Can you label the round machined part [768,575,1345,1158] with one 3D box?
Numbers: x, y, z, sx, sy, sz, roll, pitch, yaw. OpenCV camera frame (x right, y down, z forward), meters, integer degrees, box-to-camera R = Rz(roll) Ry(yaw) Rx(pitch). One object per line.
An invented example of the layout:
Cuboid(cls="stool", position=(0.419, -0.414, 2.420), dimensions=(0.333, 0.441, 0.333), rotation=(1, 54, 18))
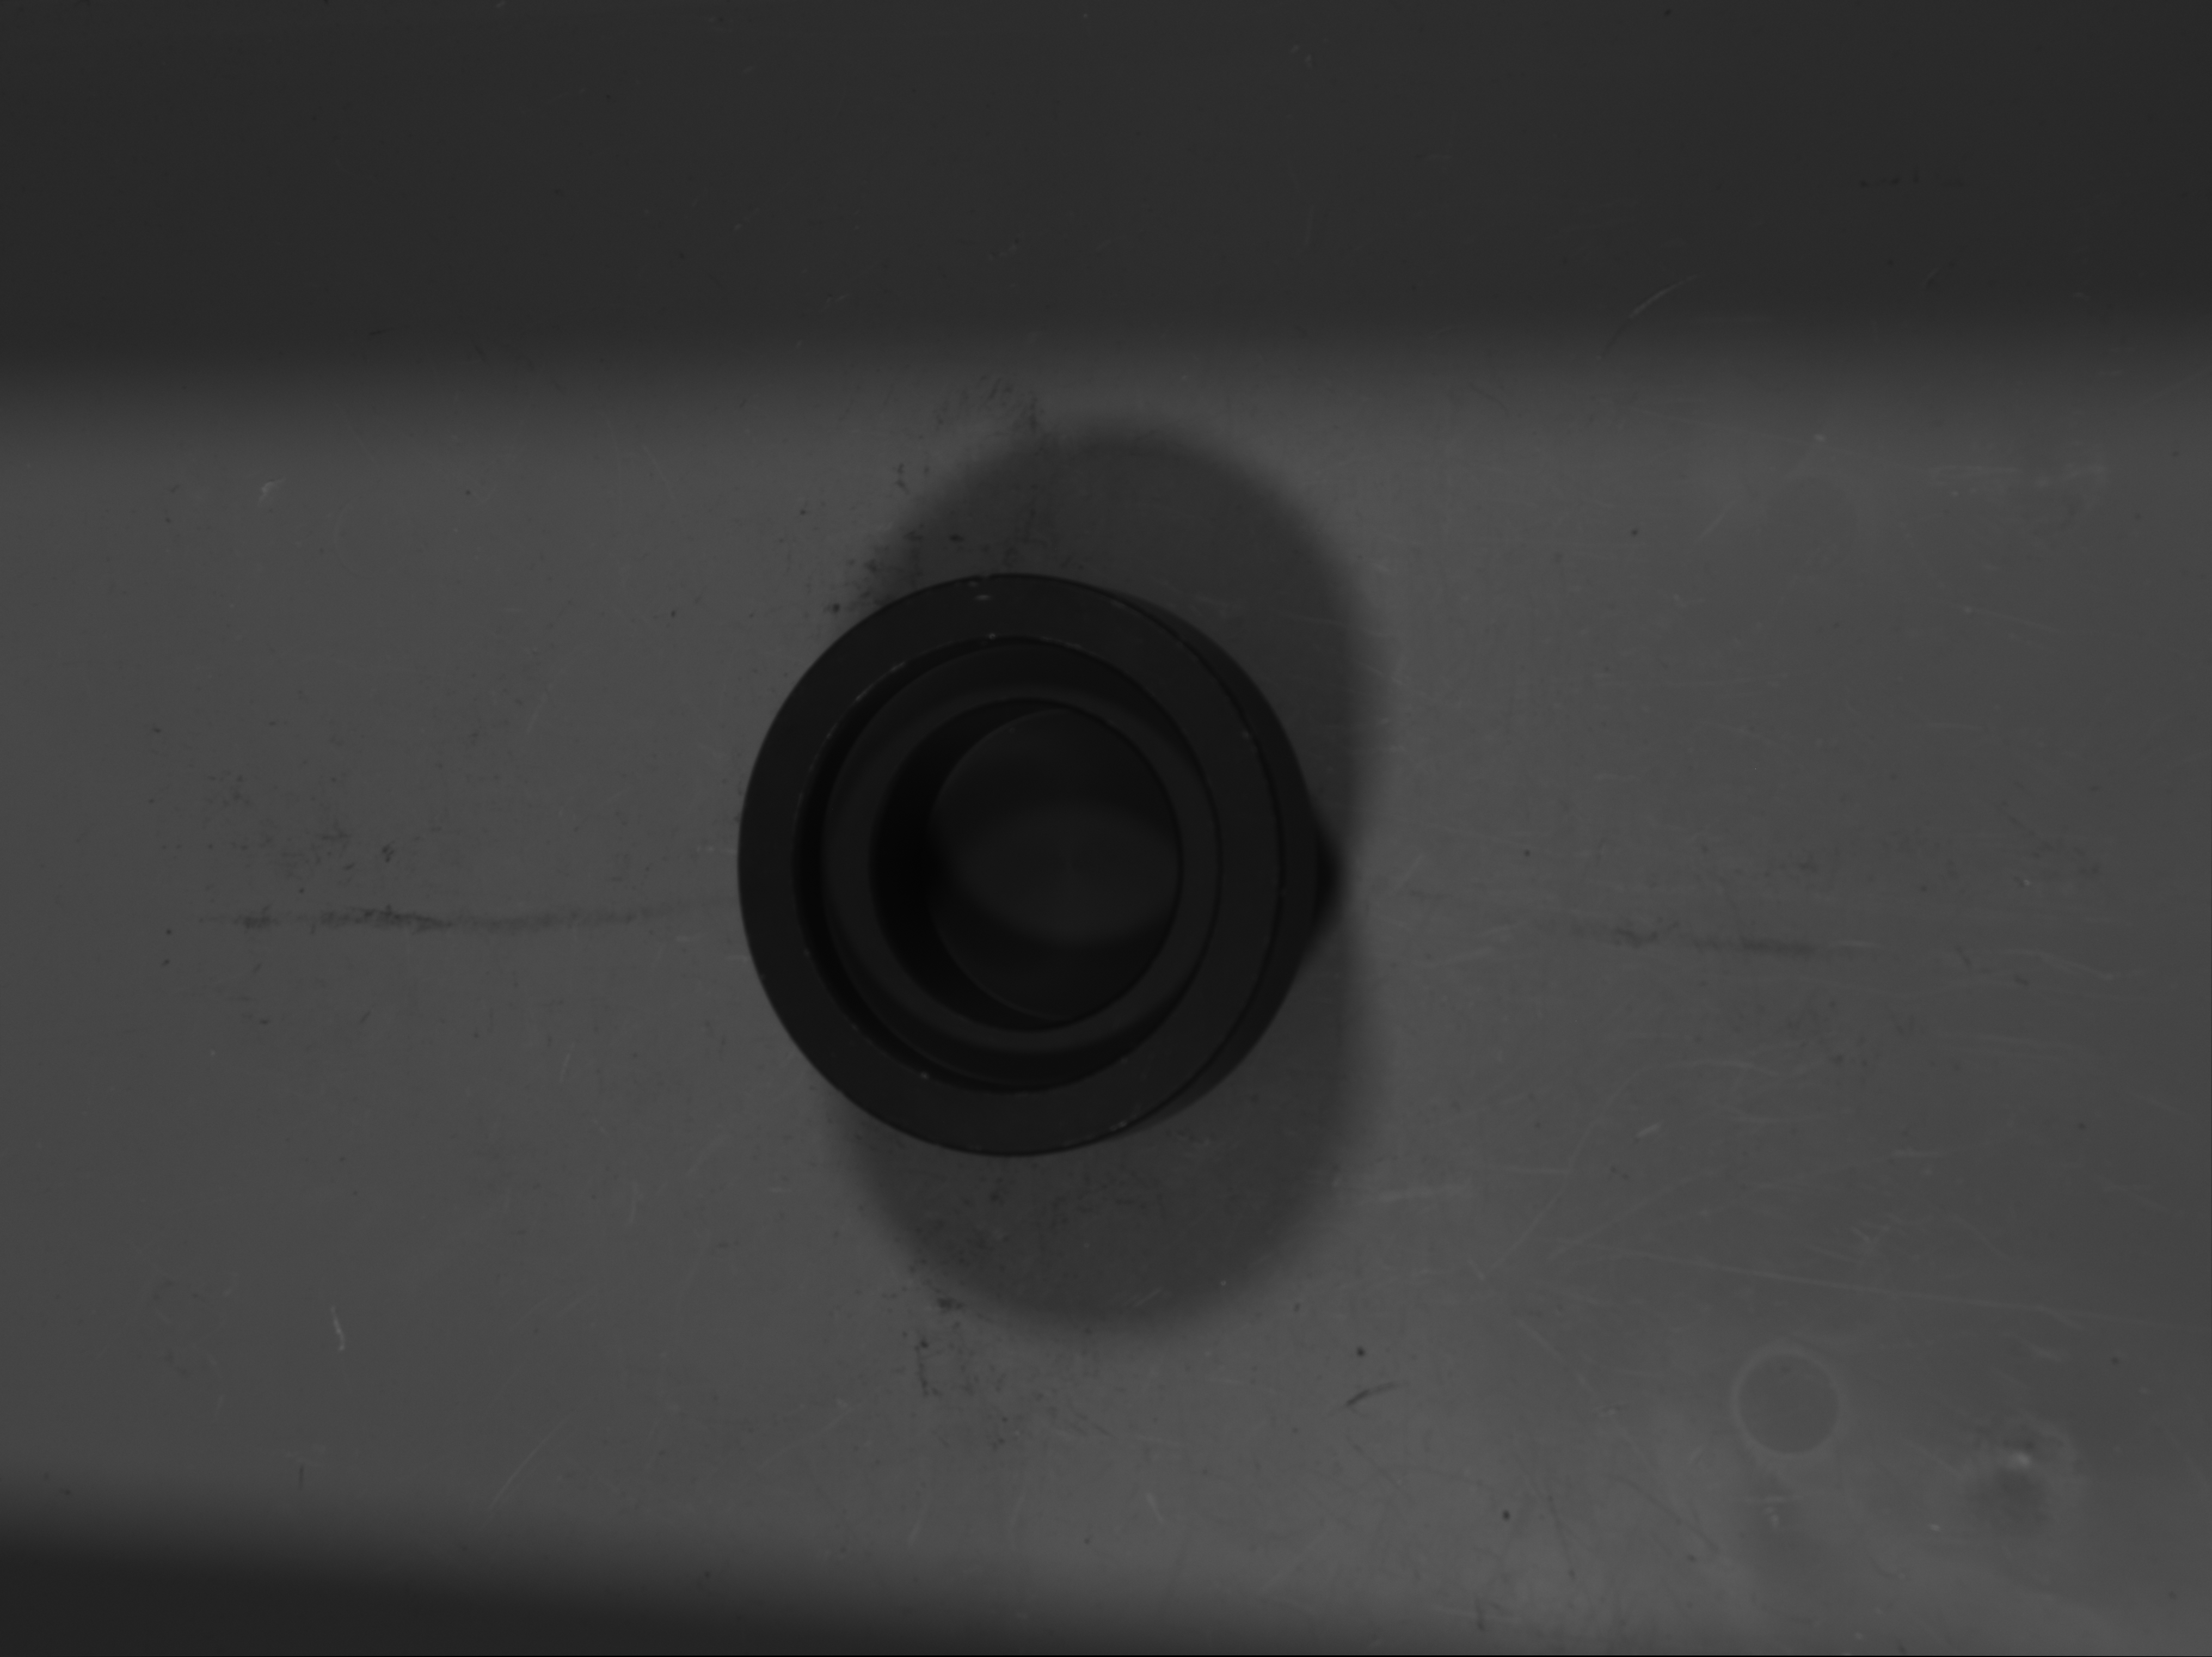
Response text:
Cuboid(cls="round machined part", position=(-0.005, 0.006, 0.634), dimensions=(0.098, 0.042, 0.098), rotation=(0, 90, 20))
